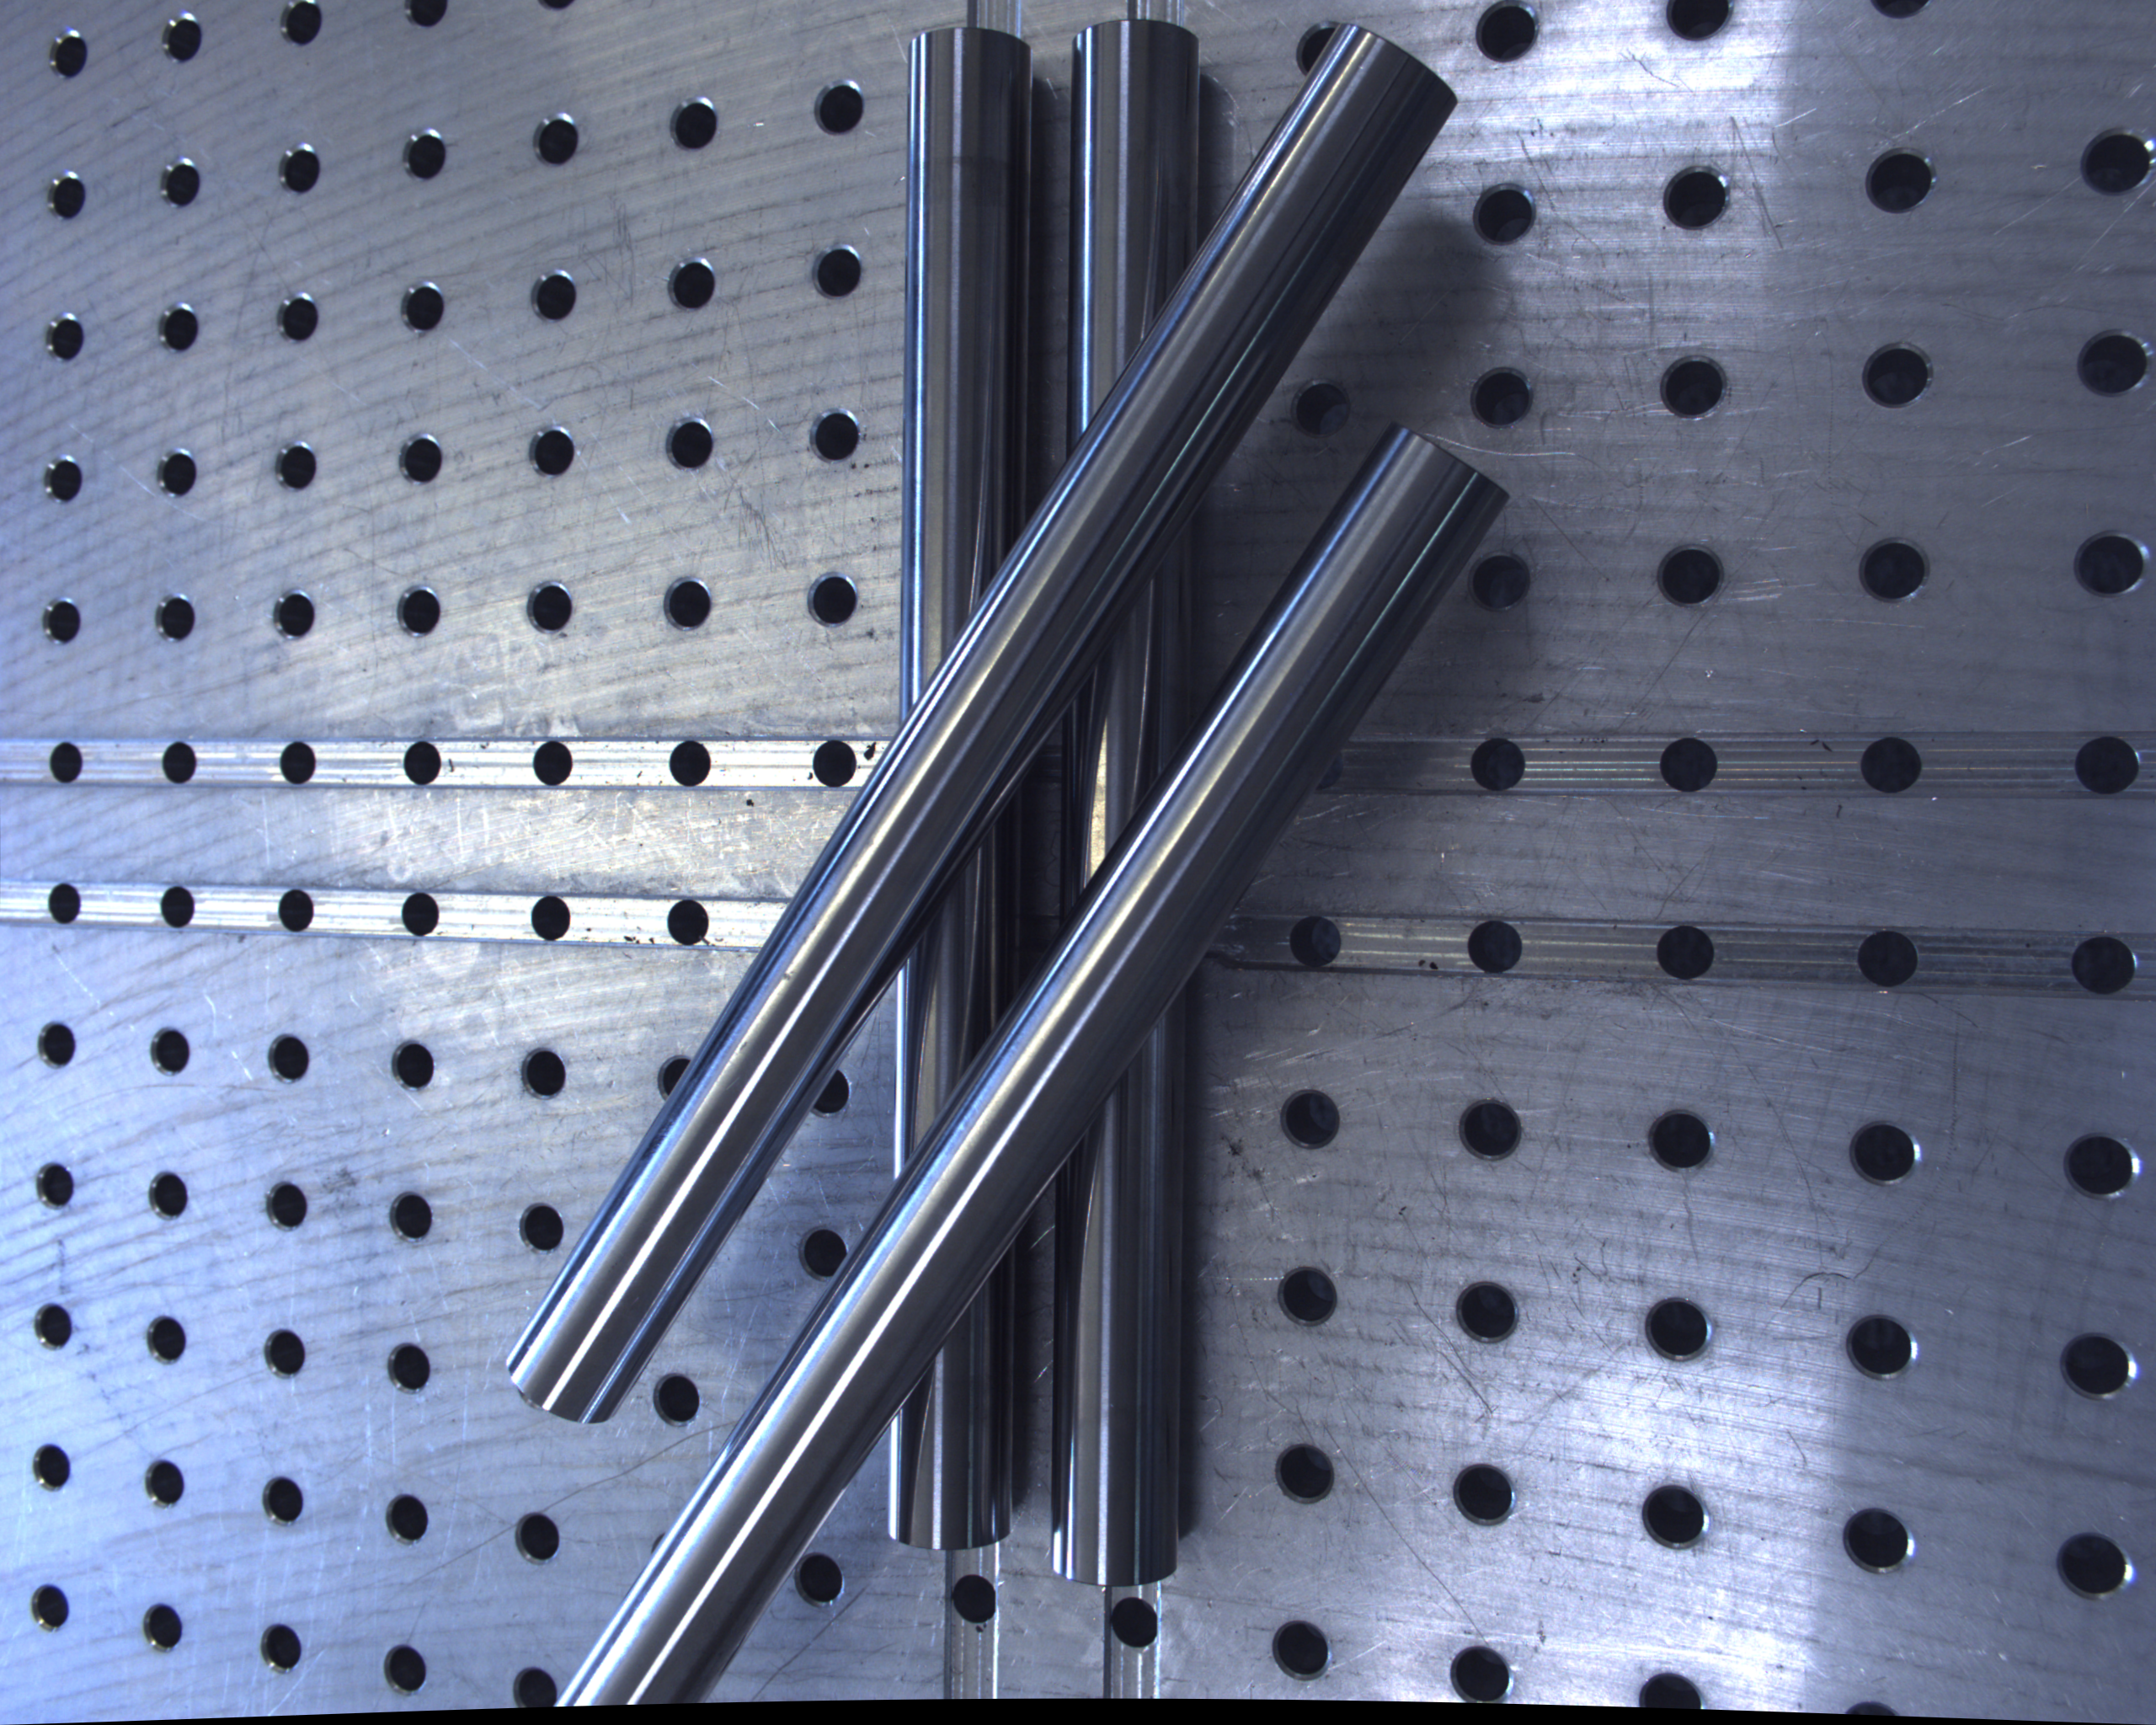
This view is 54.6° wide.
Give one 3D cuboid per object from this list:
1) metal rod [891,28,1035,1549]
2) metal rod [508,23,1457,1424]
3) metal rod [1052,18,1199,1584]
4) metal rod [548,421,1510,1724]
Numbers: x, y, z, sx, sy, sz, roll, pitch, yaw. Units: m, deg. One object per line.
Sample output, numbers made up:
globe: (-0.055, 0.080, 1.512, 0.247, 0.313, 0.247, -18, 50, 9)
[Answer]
metal rod: (-0.023, -0.014, 0.422, 0.025, 0.025, 0.298, 1, 90, 20)
metal rod: (-0.024, -0.017, 0.396, 0.025, 0.025, 0.299, 36, 101, 16)
metal rod: (0.009, -0.012, 0.410, 0.025, 0.025, 0.298, 1, 90, 20)
metal rod: (-0.015, 0.053, 0.392, 0.025, 0.025, 0.299, 36, 101, 16)
